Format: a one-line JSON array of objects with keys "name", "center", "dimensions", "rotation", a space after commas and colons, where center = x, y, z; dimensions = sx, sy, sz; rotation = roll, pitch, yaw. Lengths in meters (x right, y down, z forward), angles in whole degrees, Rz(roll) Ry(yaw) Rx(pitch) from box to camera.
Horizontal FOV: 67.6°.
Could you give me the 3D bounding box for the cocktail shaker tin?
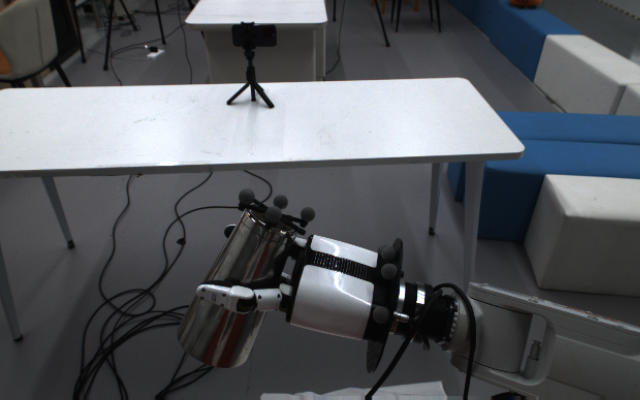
[{"name": "cocktail shaker tin", "center": [-0.089, 0.095, 0.565], "dimensions": [0.093, 0.170, 0.093], "rotation": [24, 12, -6]}]
